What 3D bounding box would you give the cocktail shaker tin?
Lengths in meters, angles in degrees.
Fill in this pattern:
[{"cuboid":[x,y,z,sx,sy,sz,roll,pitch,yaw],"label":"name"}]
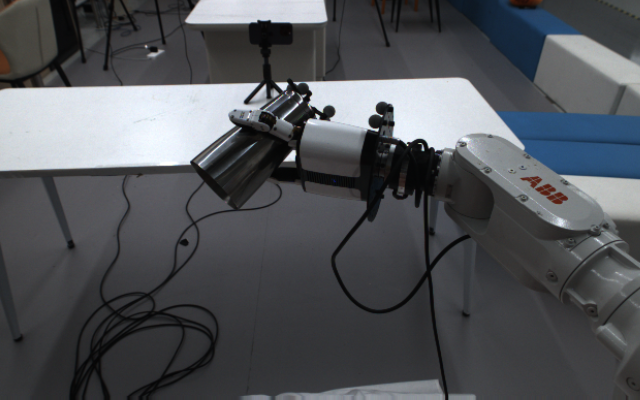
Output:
[{"cuboid":[-0.086,-0.081,0.679,0.170,0.093,0.093,-43,50,-14],"label":"cocktail shaker tin"}]
